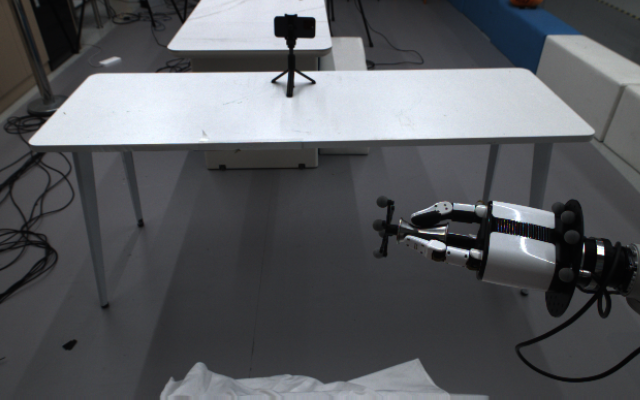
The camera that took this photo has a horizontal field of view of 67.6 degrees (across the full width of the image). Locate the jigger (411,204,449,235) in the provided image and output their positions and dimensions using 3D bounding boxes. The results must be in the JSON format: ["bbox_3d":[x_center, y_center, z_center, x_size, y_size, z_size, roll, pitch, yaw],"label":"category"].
[{"bbox_3d":[0.153,0.046,0.695,0.071,0.043,0.043,8,35,15],"label":"jigger"}]
